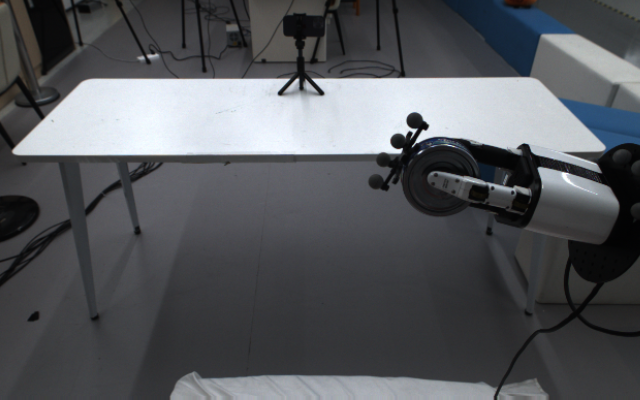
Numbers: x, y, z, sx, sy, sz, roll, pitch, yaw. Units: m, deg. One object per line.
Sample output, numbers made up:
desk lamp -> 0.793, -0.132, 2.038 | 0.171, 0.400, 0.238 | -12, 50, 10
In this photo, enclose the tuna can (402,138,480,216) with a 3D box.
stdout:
tuna can -> 0.136, -0.029, 0.544 | 0.085, 0.085, 0.034 | 3, 20, 1
